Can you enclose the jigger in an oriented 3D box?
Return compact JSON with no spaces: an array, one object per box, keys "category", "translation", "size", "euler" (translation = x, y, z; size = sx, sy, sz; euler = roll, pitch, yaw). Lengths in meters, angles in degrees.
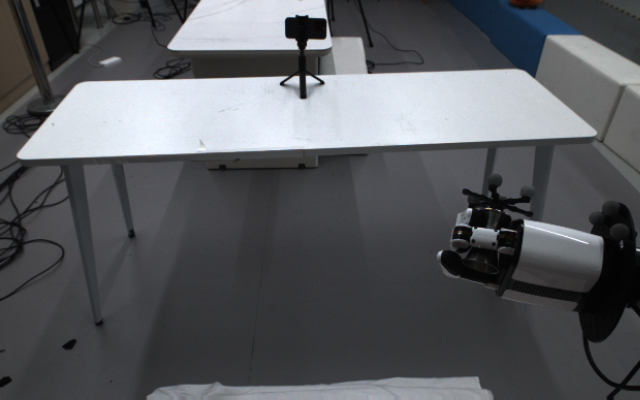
[{"category":"jigger","translation":[0.201,0.045,0.579],"size":[0.043,0.043,0.071],"euler":[16,70,19]}]
